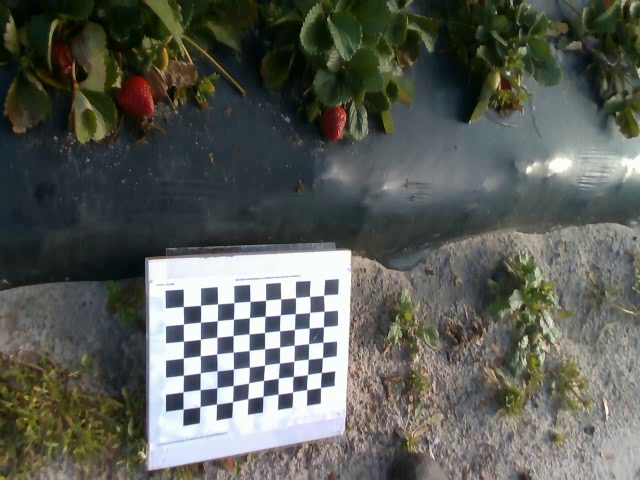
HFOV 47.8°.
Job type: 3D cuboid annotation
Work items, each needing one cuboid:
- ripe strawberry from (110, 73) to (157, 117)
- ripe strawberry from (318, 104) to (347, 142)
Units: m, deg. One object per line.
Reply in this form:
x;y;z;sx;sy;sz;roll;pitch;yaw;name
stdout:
-0.136;-0.106;0.546;0.031;0.030;0.025;-43;3;-21;ripe strawberry
0.013;-0.103;0.639;0.029;0.036;0.021;0;-4;-25;ripe strawberry
